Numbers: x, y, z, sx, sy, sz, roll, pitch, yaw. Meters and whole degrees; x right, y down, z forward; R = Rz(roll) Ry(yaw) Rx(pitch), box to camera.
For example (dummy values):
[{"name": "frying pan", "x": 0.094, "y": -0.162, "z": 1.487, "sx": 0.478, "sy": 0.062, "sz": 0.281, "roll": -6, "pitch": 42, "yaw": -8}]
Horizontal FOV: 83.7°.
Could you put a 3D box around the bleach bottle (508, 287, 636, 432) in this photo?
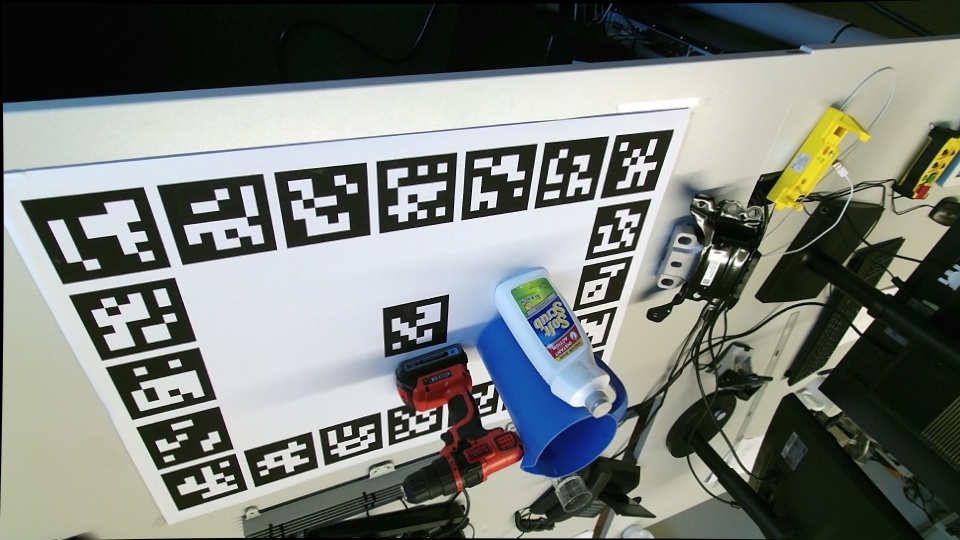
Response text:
[{"name": "bleach bottle", "x": 0.138, "y": 0.126, "z": 0.763, "sx": 0.103, "sy": 0.250, "sz": 0.068, "roll": -19, "pitch": 129, "yaw": -18}]

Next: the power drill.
[{"name": "power drill", "x": -0.046, "y": 0.242, "z": 0.786, "sx": 0.185, "sy": 0.186, "sz": 0.057, "roll": -13, "pitch": 125, "yaw": -14}]

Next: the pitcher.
[{"name": "pitcher", "x": 0.113, "y": 0.201, "z": 0.831, "sx": 0.189, "sy": 0.241, "sz": 0.133, "roll": -33, "pitch": 131, "yaw": -5}]
